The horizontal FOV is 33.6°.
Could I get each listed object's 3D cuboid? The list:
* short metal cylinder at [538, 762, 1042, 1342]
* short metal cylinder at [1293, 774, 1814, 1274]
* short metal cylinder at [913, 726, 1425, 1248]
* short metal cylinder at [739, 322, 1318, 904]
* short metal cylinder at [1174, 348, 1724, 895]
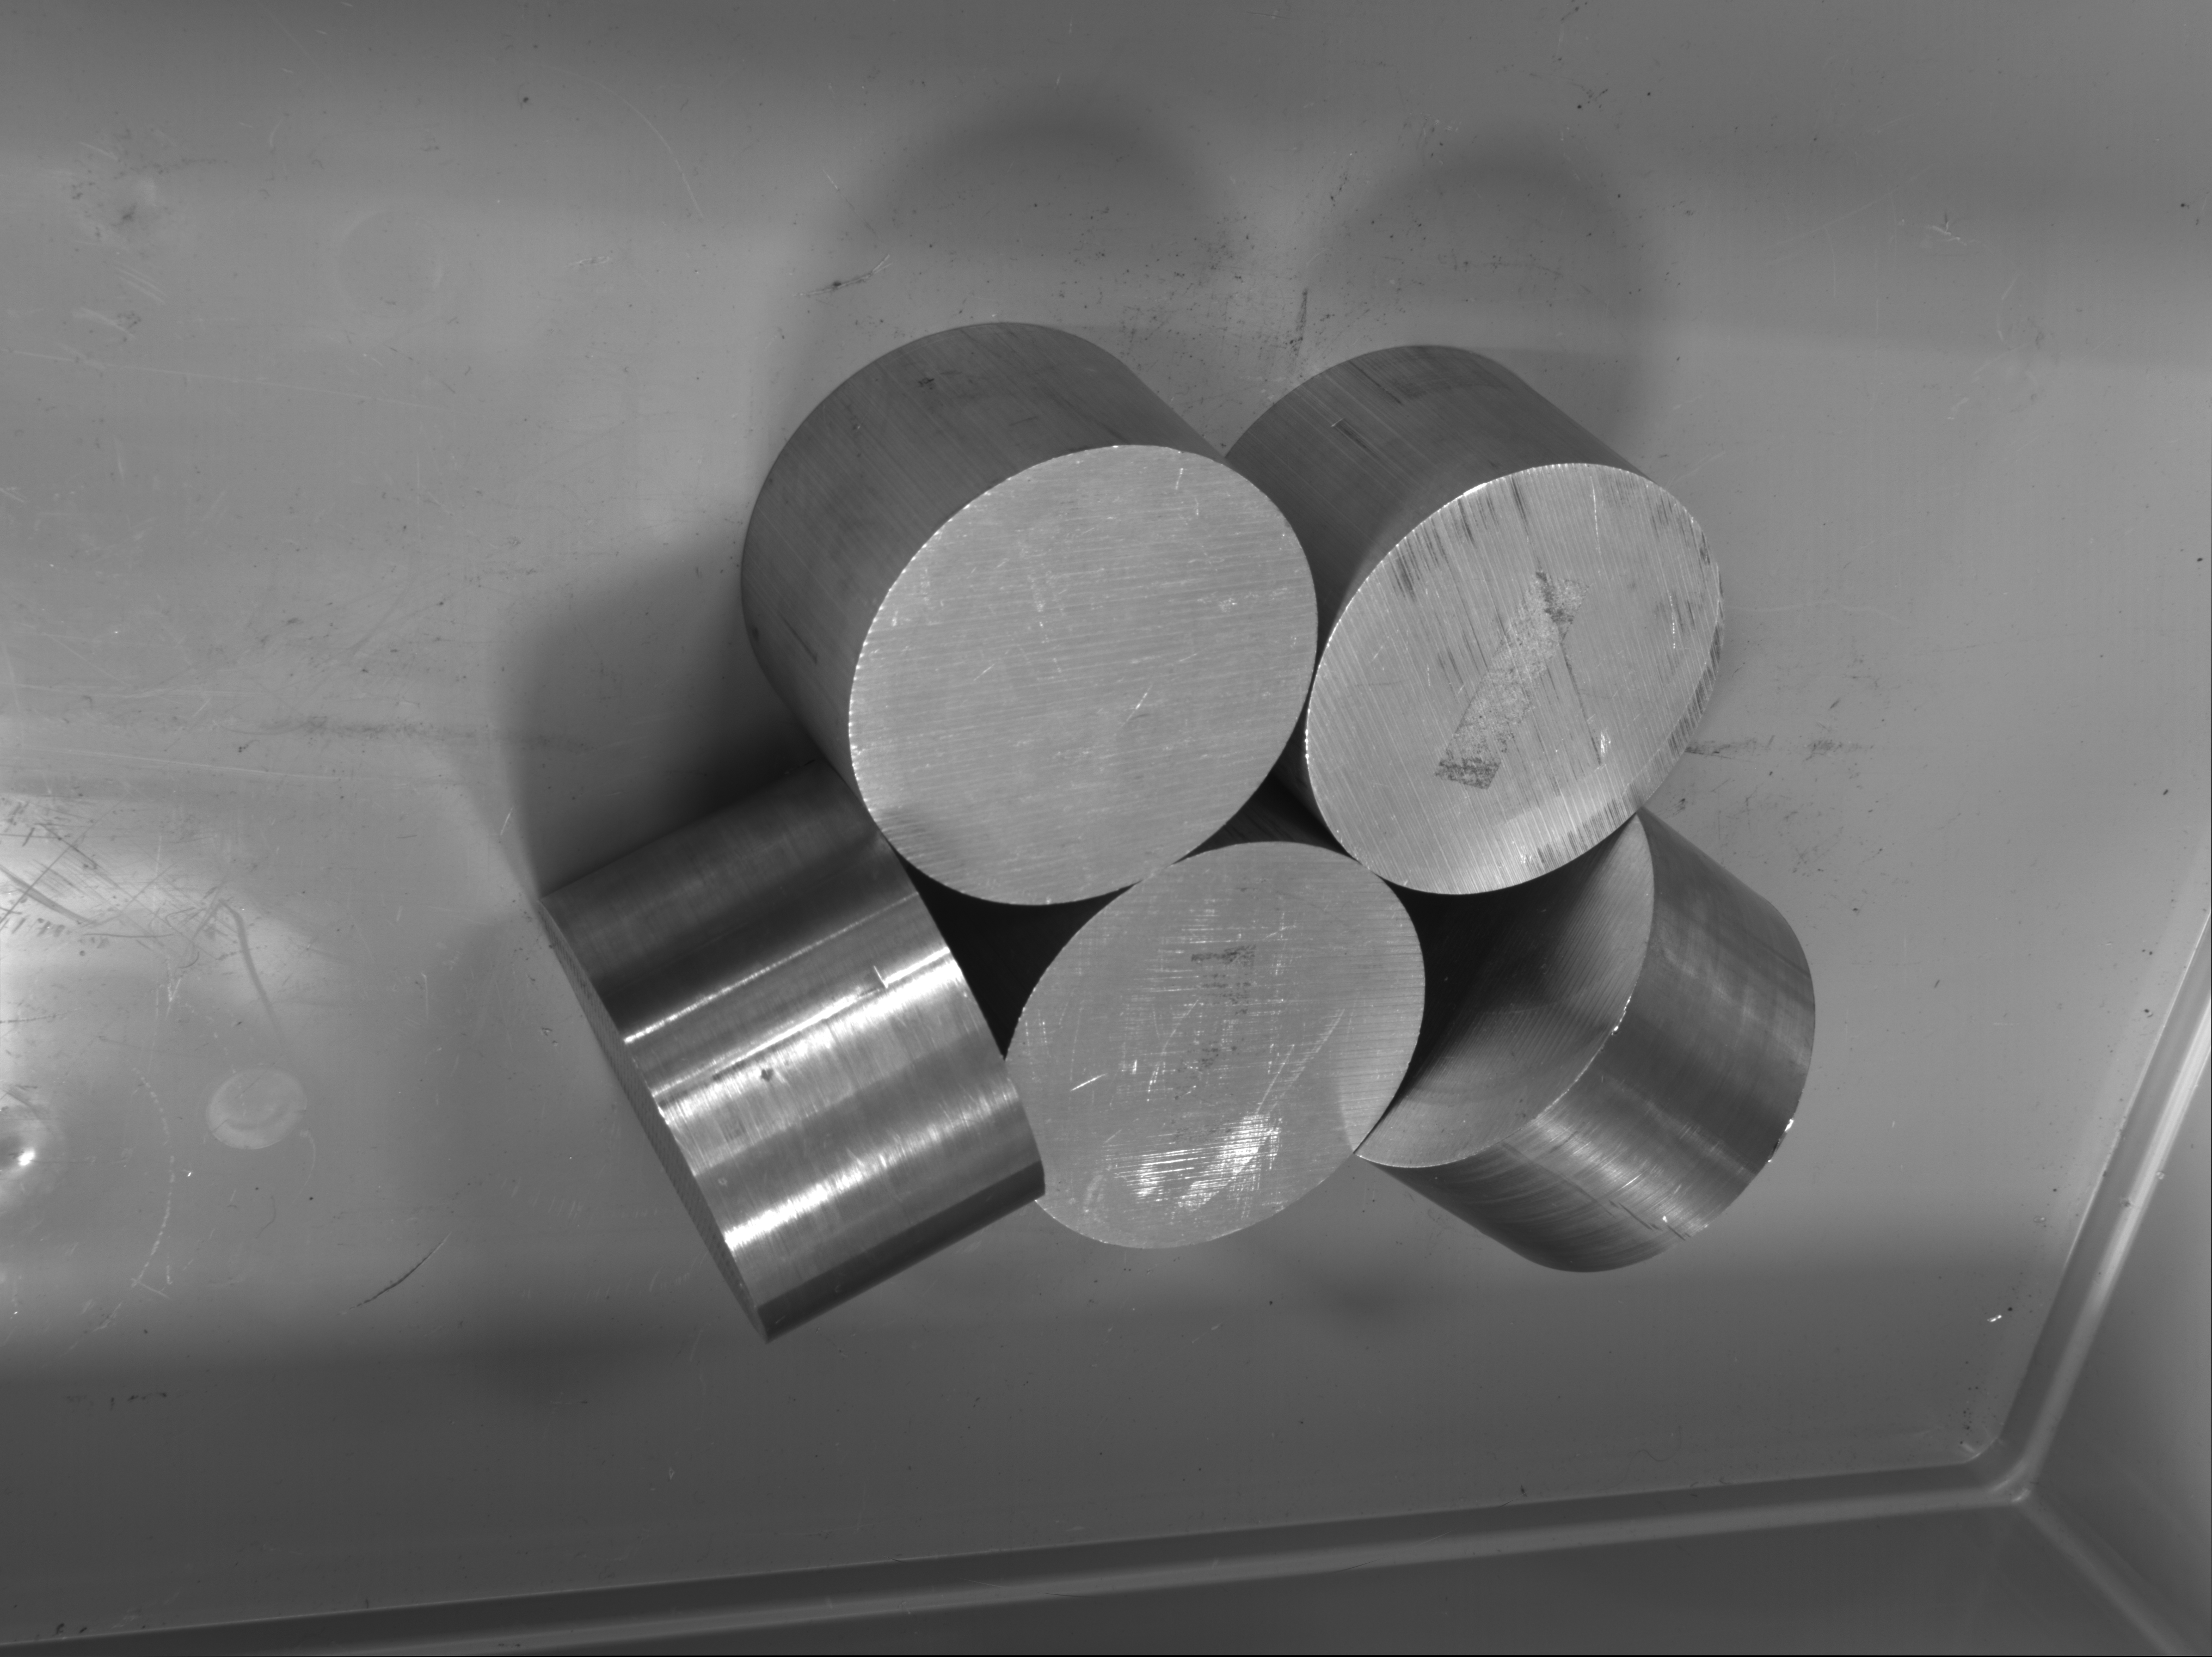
[{"bbox_3d":[-0.052,0.036,0.595,0.050,0.080,0.080,-27,128,-11],"label":"short metal cylinder"},{"bbox_3d":[0.080,0.034,0.664,0.050,0.080,0.080,33,100,-38],"label":"short metal cylinder"},{"bbox_3d":[0.008,0.026,0.640,0.080,0.050,0.080,-14,124,-21],"label":"short metal cylinder"},{"bbox_3d":[-0.013,-0.035,0.592,0.080,0.050,0.080,-14,124,-21],"label":"short metal cylinder"},{"bbox_3d":[0.058,-0.036,0.629,0.080,0.050,0.080,-14,124,-21],"label":"short metal cylinder"}]
